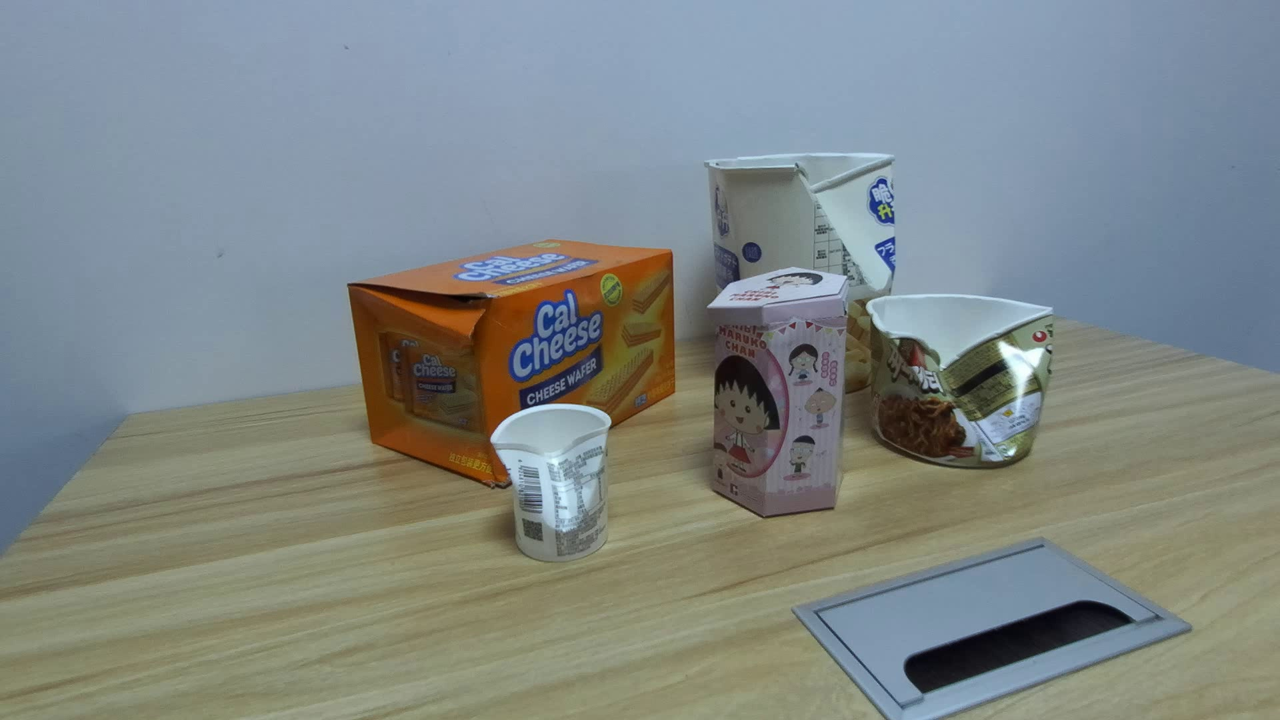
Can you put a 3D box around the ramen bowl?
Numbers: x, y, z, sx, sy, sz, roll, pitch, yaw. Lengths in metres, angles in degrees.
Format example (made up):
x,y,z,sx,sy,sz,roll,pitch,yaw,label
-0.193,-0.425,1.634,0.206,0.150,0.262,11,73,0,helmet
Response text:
x,y,z,sx,sy,sz,roll,pitch,yaw,label
0.229,0.009,0.519,0.137,0.098,0.137,-1,18,1,ramen bowl

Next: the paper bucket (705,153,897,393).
x,y,z,sx,sy,sz,roll,pitch,yaw,label
0.144,-0.079,0.634,0.168,0.202,0.163,0,21,16,paper bucket

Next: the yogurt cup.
x,y,z,sx,sy,sz,roll,pitch,yaw,label
-0.047,0.069,0.403,0.067,0.070,0.067,-4,20,2,yogurt cup

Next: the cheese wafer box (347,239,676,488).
x,y,z,sx,sy,sz,roll,pitch,yaw,label
-0.089,-0.016,0.567,0.149,0.137,0.228,11,22,34,cheese wafer box

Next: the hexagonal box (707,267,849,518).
x,y,z,sx,sy,sz,roll,pitch,yaw,label
0.089,0.018,0.441,0.085,0.135,0.091,-16,23,-35,hexagonal box
